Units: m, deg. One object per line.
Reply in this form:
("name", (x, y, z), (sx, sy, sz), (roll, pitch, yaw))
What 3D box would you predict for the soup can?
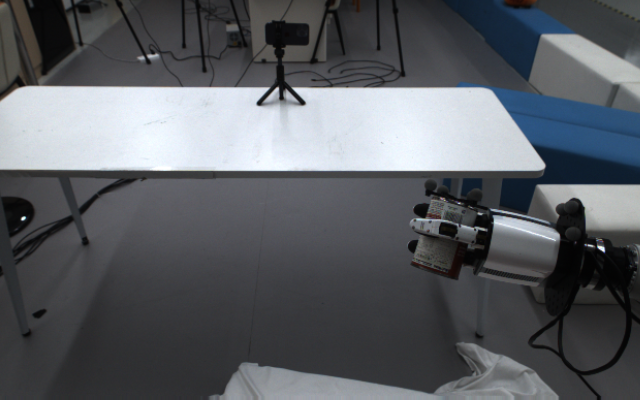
("soup can", (0.176, 0.052, 0.677), (0.067, 0.101, 0.067), (17, -1, 0))
